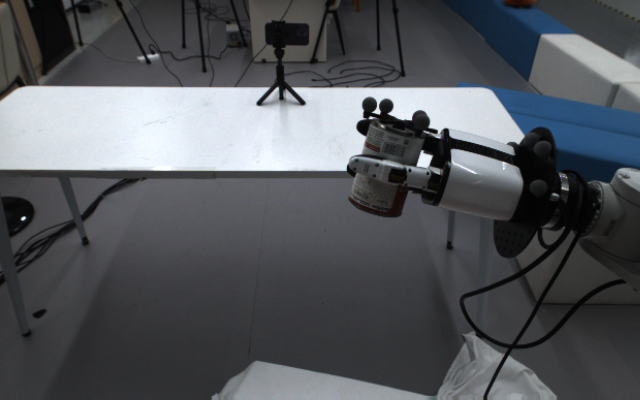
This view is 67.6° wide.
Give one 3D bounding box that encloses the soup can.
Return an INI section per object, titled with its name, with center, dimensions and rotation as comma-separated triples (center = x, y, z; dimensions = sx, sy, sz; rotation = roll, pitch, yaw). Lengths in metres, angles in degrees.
[soup can]
center = 0.080, -0.039, 0.578
dimensions = 0.067, 0.101, 0.067
rotation = 13, 18, -4
